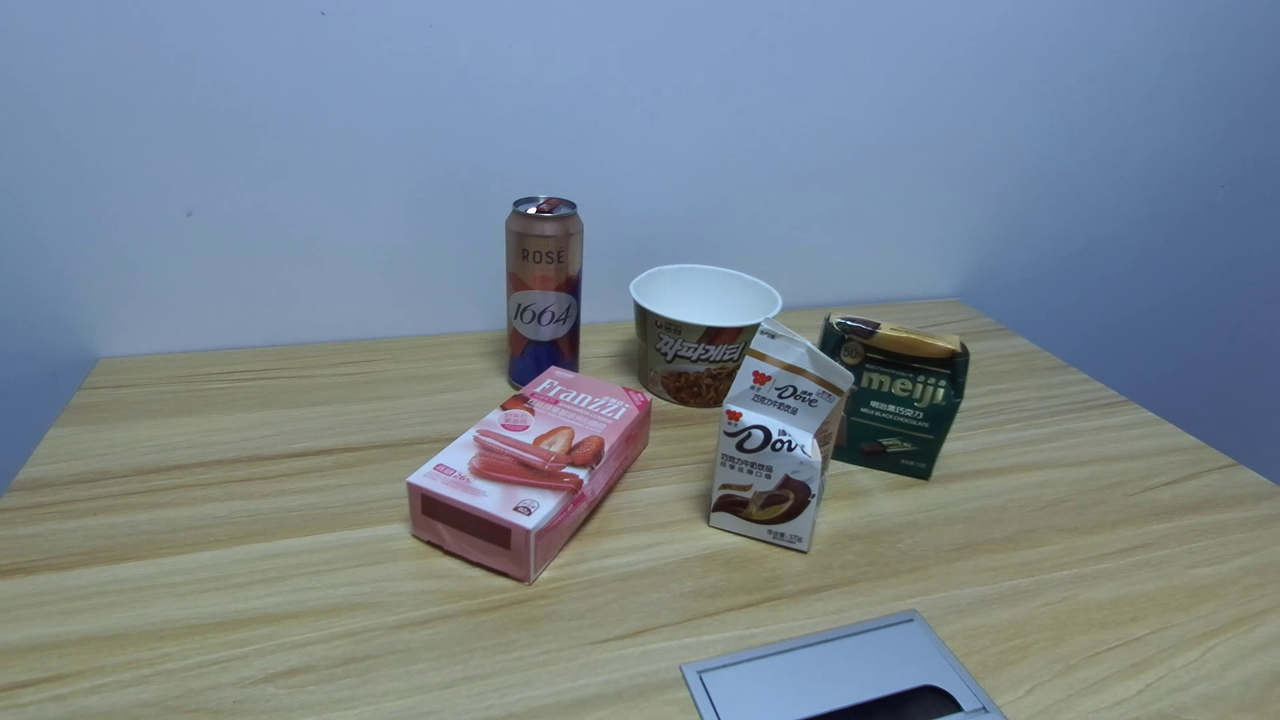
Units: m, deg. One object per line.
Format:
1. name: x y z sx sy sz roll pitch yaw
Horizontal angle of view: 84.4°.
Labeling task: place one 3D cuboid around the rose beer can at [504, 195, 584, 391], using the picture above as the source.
1. rose beer can: -0.085 -0.055 0.631 0.069 0.169 0.068 4 27 -2

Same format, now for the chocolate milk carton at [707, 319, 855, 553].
1. chocolate milk carton: 0.098 0.045 0.482 0.076 0.155 0.074 14 32 15

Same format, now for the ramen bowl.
1. ramen bowl: 0.057 -0.021 0.662 0.140 0.095 0.140 5 27 -2

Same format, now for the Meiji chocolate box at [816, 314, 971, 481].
1. Meiji chocolate box: 0.199 0.027 0.582 0.117 0.117 0.052 12 21 12

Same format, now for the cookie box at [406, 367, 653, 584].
1. cookie box: -0.068 0.074 0.519 0.105 0.049 0.188 16 31 20
